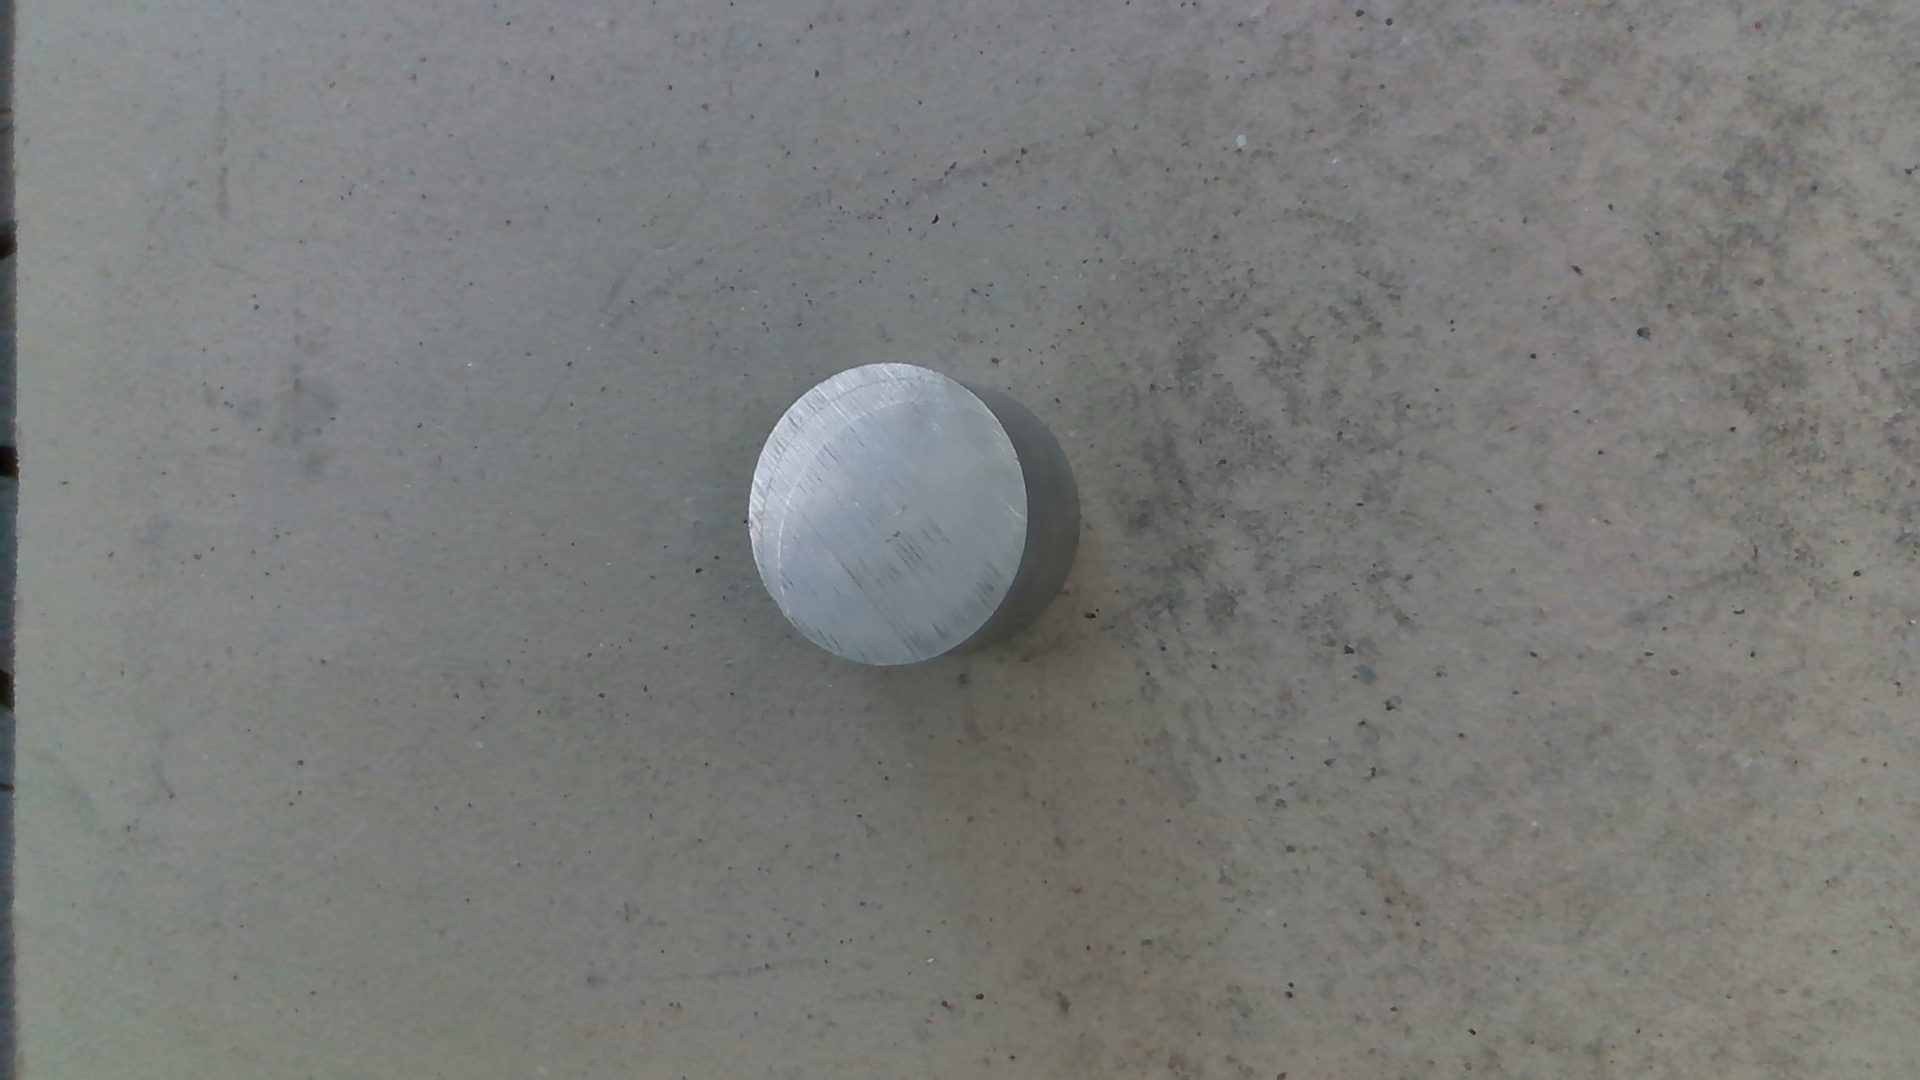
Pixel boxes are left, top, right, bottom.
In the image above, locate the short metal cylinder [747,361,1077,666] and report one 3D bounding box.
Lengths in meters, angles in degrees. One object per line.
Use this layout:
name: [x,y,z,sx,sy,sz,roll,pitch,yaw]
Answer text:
short metal cylinder: [-0.012,-0.007,0.385,0.080,0.050,0.080,0,91,20]
